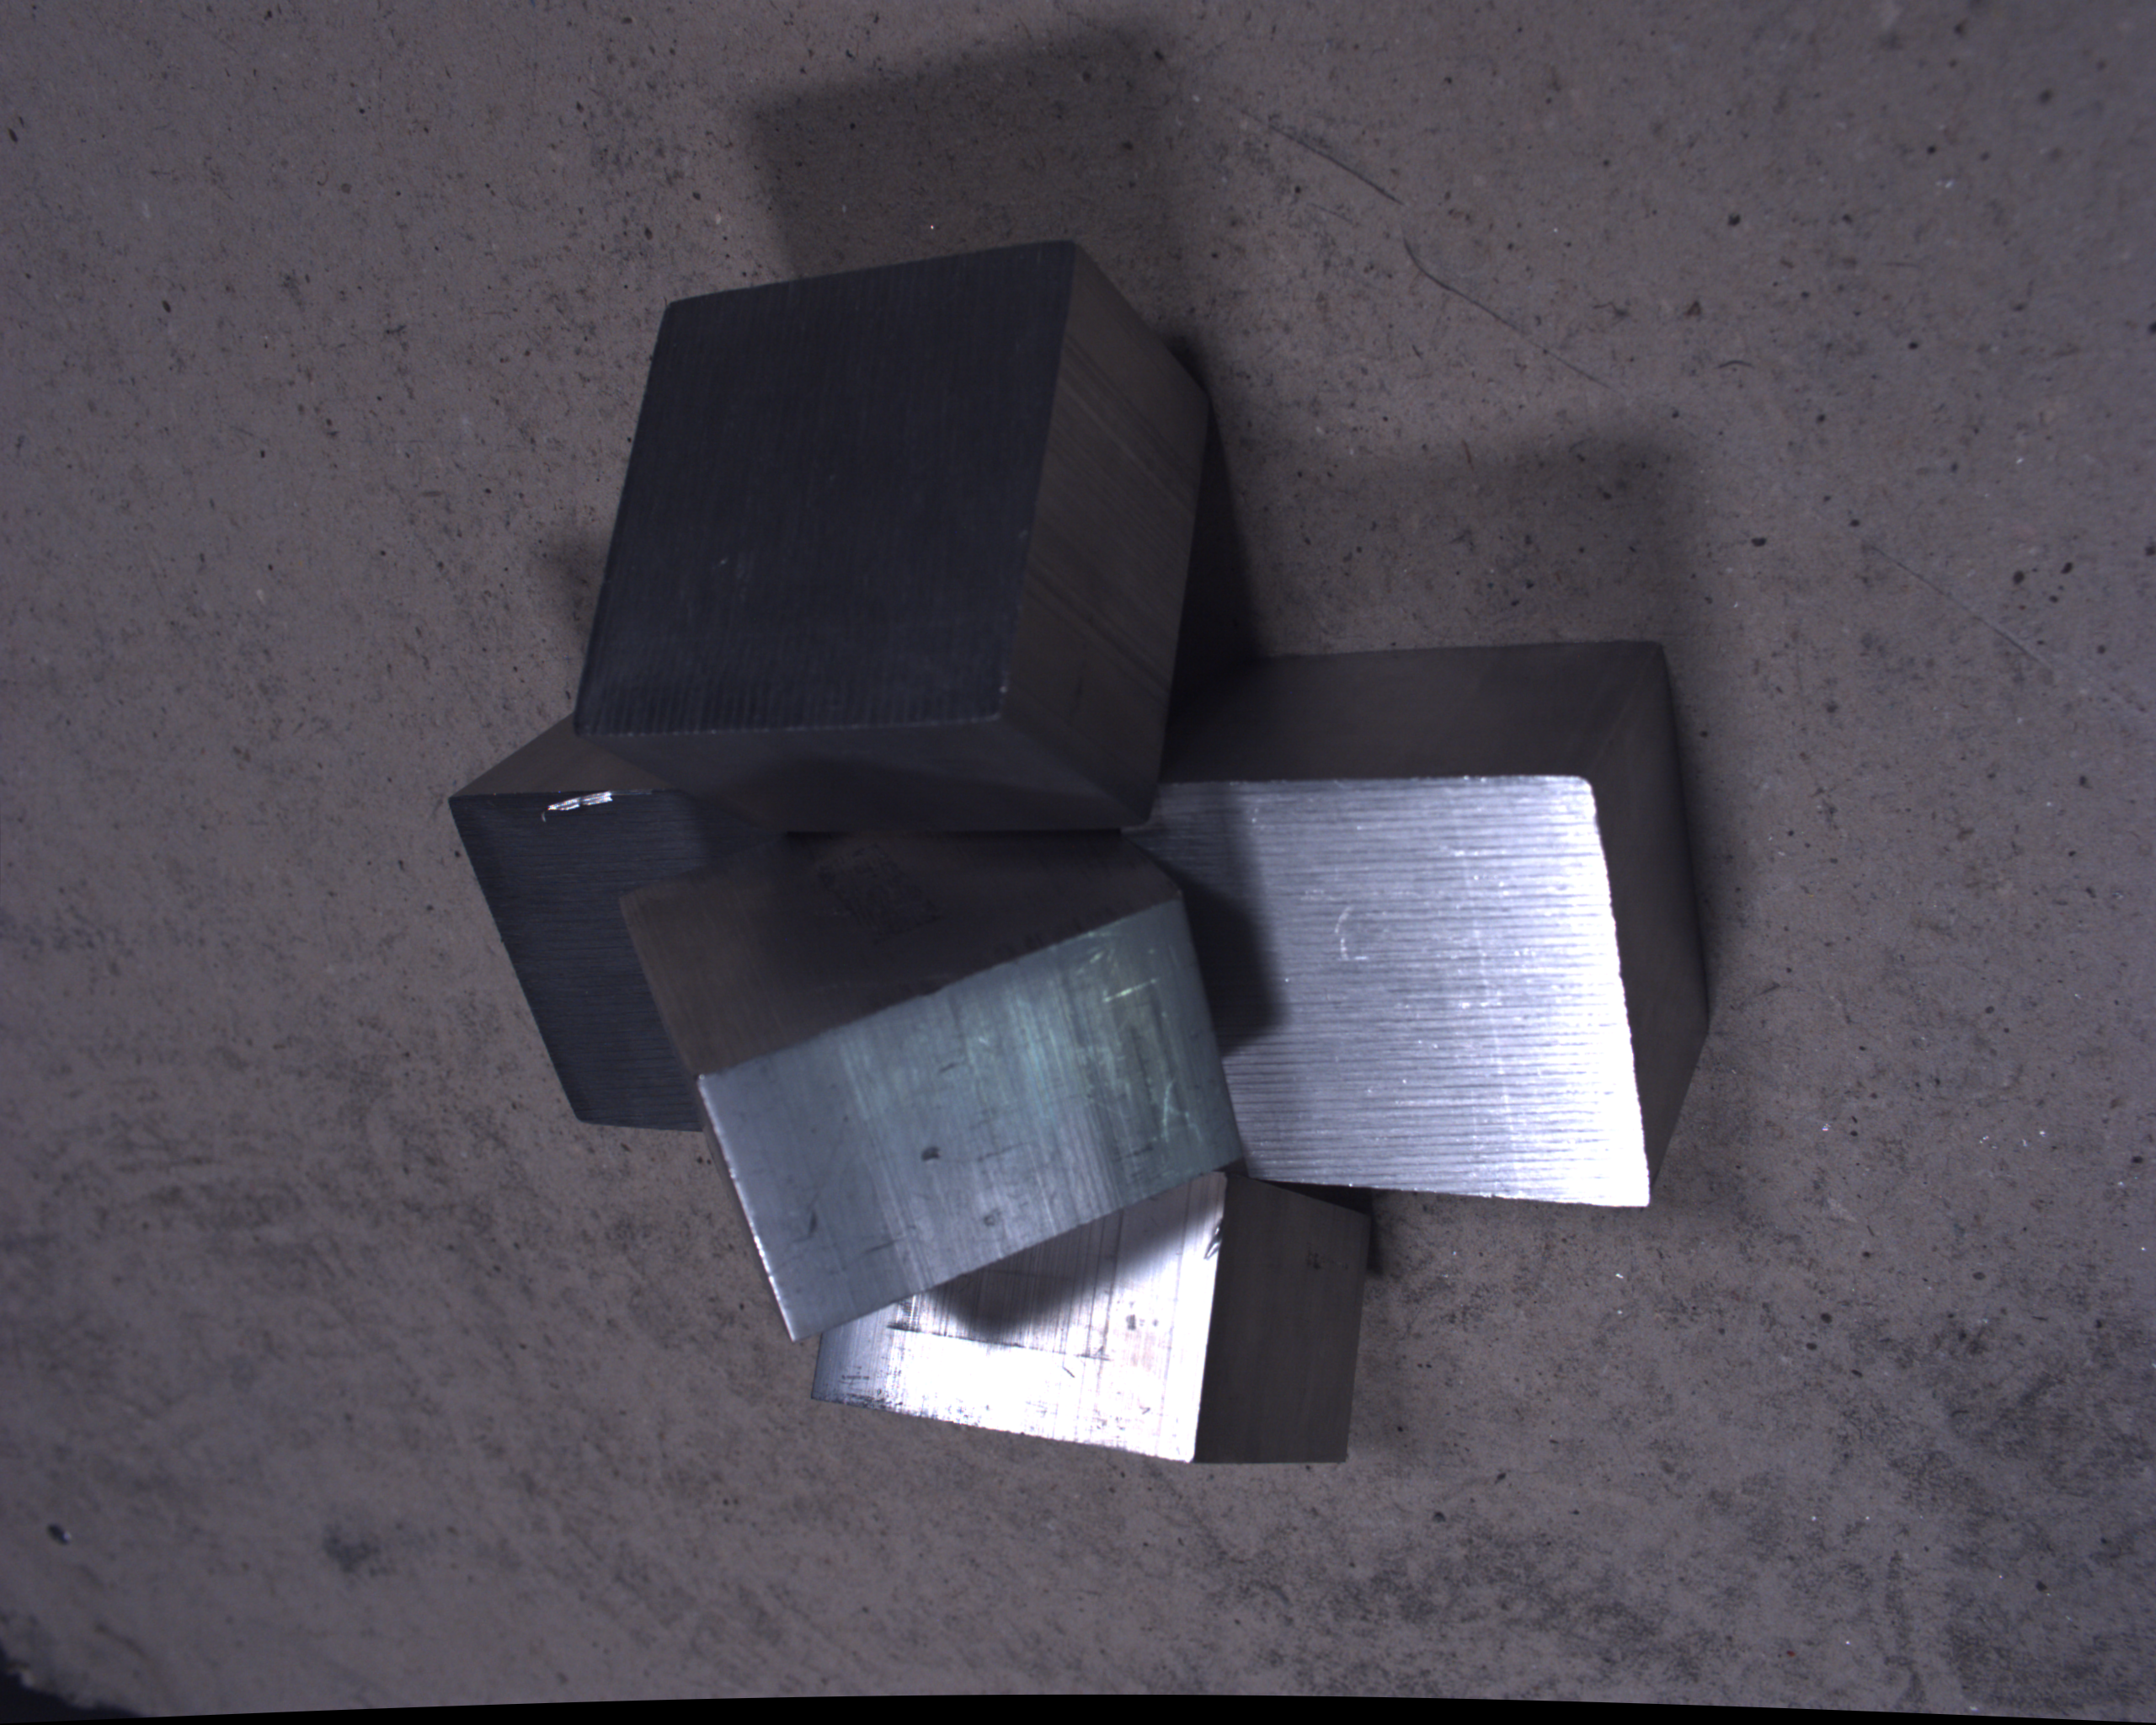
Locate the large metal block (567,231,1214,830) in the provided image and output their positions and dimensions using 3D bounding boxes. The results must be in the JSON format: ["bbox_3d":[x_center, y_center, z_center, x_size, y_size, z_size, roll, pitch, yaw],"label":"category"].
[{"bbox_3d":[-0.029,-0.051,0.348,0.080,0.080,0.050,0,162,28],"label":"large metal block"}]

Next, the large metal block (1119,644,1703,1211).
[{"bbox_3d":[0.059,0.010,0.363,0.080,0.050,0.080,0,119,28],"label":"large metal block"}]

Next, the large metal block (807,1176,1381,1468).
[{"bbox_3d":[0.006,0.088,0.415,0.080,0.080,0.050,2,76,28],"label":"large metal block"}]

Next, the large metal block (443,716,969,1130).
[{"bbox_3d":[-0.072,0.009,0.434,0.080,0.050,0.080,0,118,28],"label":"large metal block"}]

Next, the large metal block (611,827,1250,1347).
[{"bbox_3d":[-0.028,0.027,0.360,0.080,0.081,0.050,-137,29,-61],"label":"large metal block"}]
